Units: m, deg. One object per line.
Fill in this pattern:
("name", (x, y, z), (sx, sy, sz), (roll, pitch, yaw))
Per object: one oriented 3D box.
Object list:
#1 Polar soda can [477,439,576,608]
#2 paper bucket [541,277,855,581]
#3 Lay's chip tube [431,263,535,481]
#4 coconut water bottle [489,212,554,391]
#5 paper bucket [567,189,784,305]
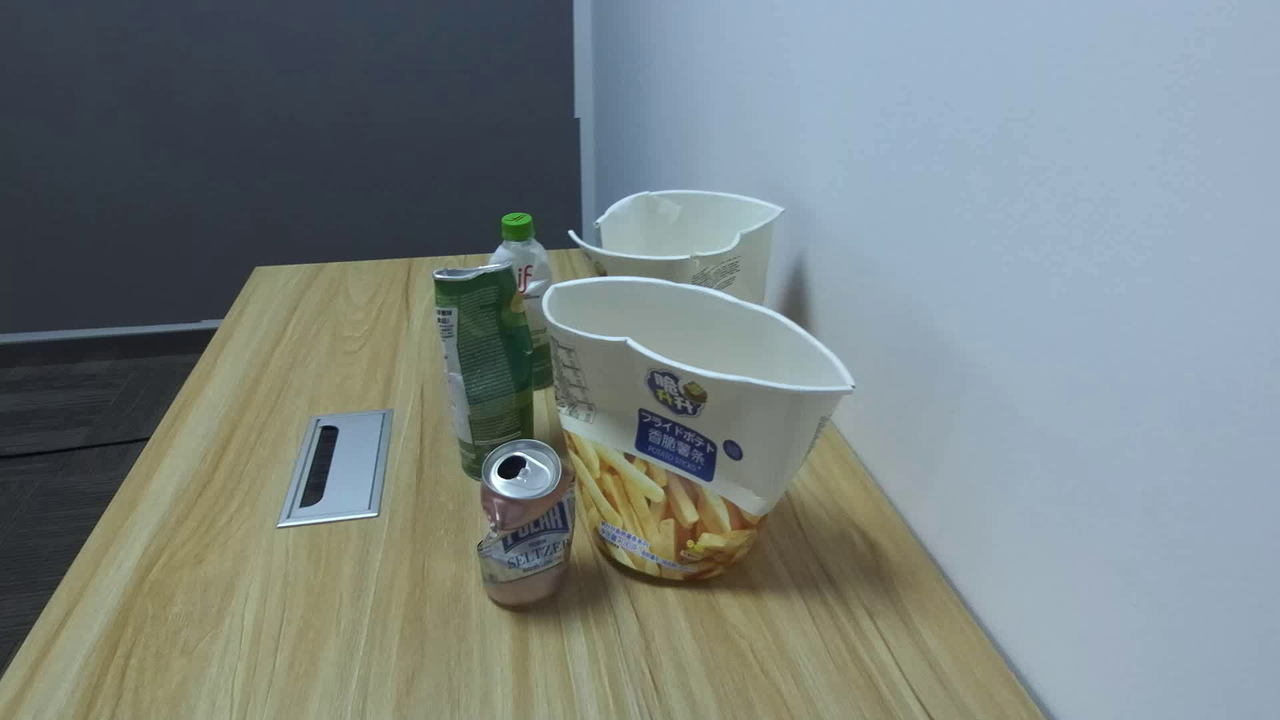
("Polar soda can", (-0.086, 0.123, 0.520), (0.066, 0.122, 0.071), (16, 36, 12))
("paper bucket", (0.032, 0.055, 0.554), (0.218, 0.199, 0.147), (1, 33, 1))
("Lay's chip tube", (-0.136, 0.008, 0.631), (0.079, 0.199, 0.070), (-10, 26, -20))
("coconut water bottle", (-0.120, -0.058, 0.732), (0.067, 0.187, 0.067), (-2, 13, 1))
("paper bucket", (0.041, -0.058, 0.733), (0.145, 0.197, 0.203), (18, 36, 28))
